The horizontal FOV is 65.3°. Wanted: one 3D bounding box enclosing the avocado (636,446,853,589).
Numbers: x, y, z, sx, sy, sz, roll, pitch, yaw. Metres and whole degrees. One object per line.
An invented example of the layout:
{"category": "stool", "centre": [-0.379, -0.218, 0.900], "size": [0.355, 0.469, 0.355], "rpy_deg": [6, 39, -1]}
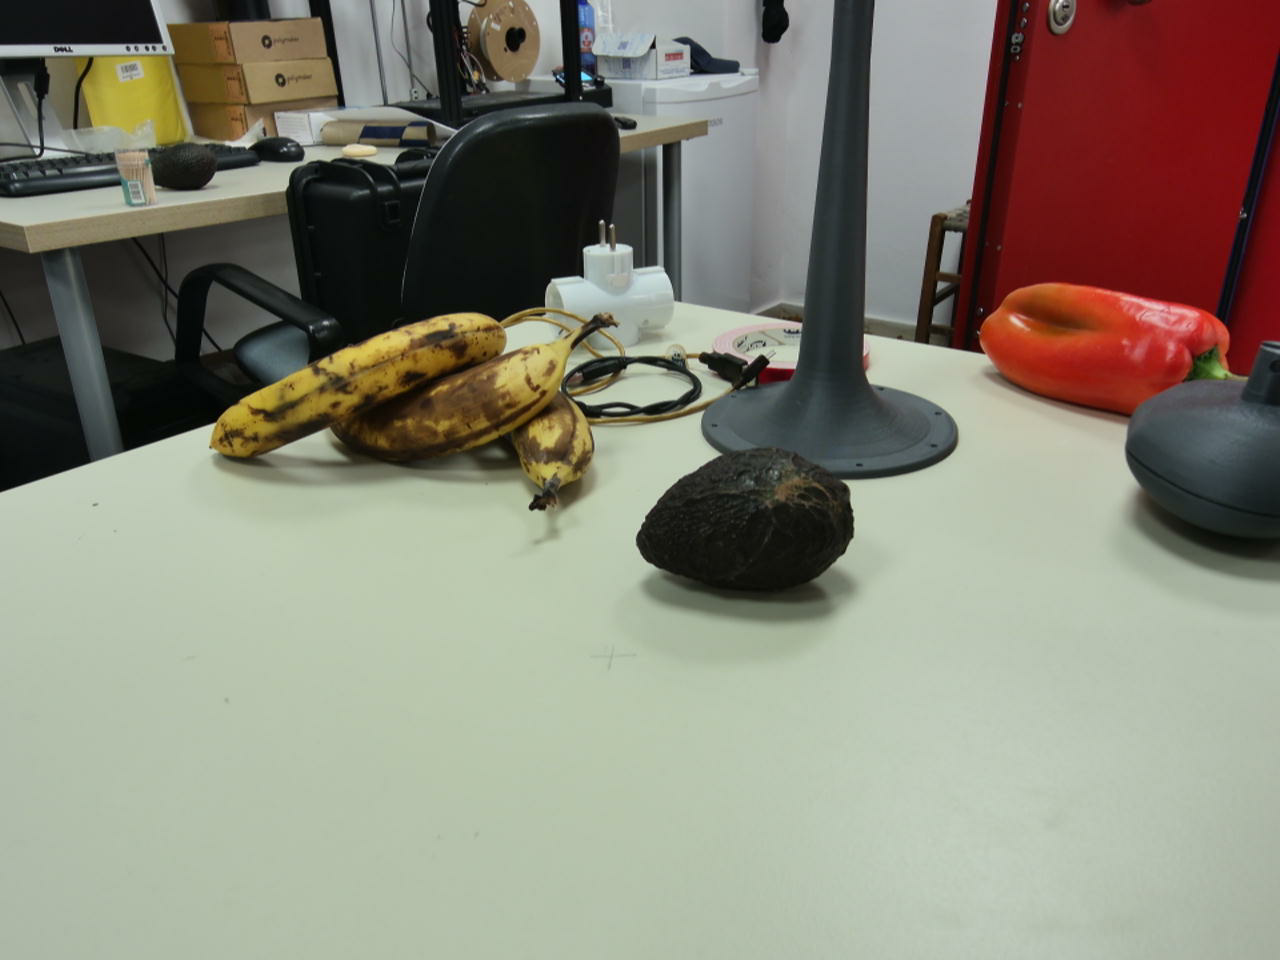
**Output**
{"category": "avocado", "centre": [0.046, 0.016, 0.437], "size": [0.092, 0.062, 0.062], "rpy_deg": [6, 24, 14]}
